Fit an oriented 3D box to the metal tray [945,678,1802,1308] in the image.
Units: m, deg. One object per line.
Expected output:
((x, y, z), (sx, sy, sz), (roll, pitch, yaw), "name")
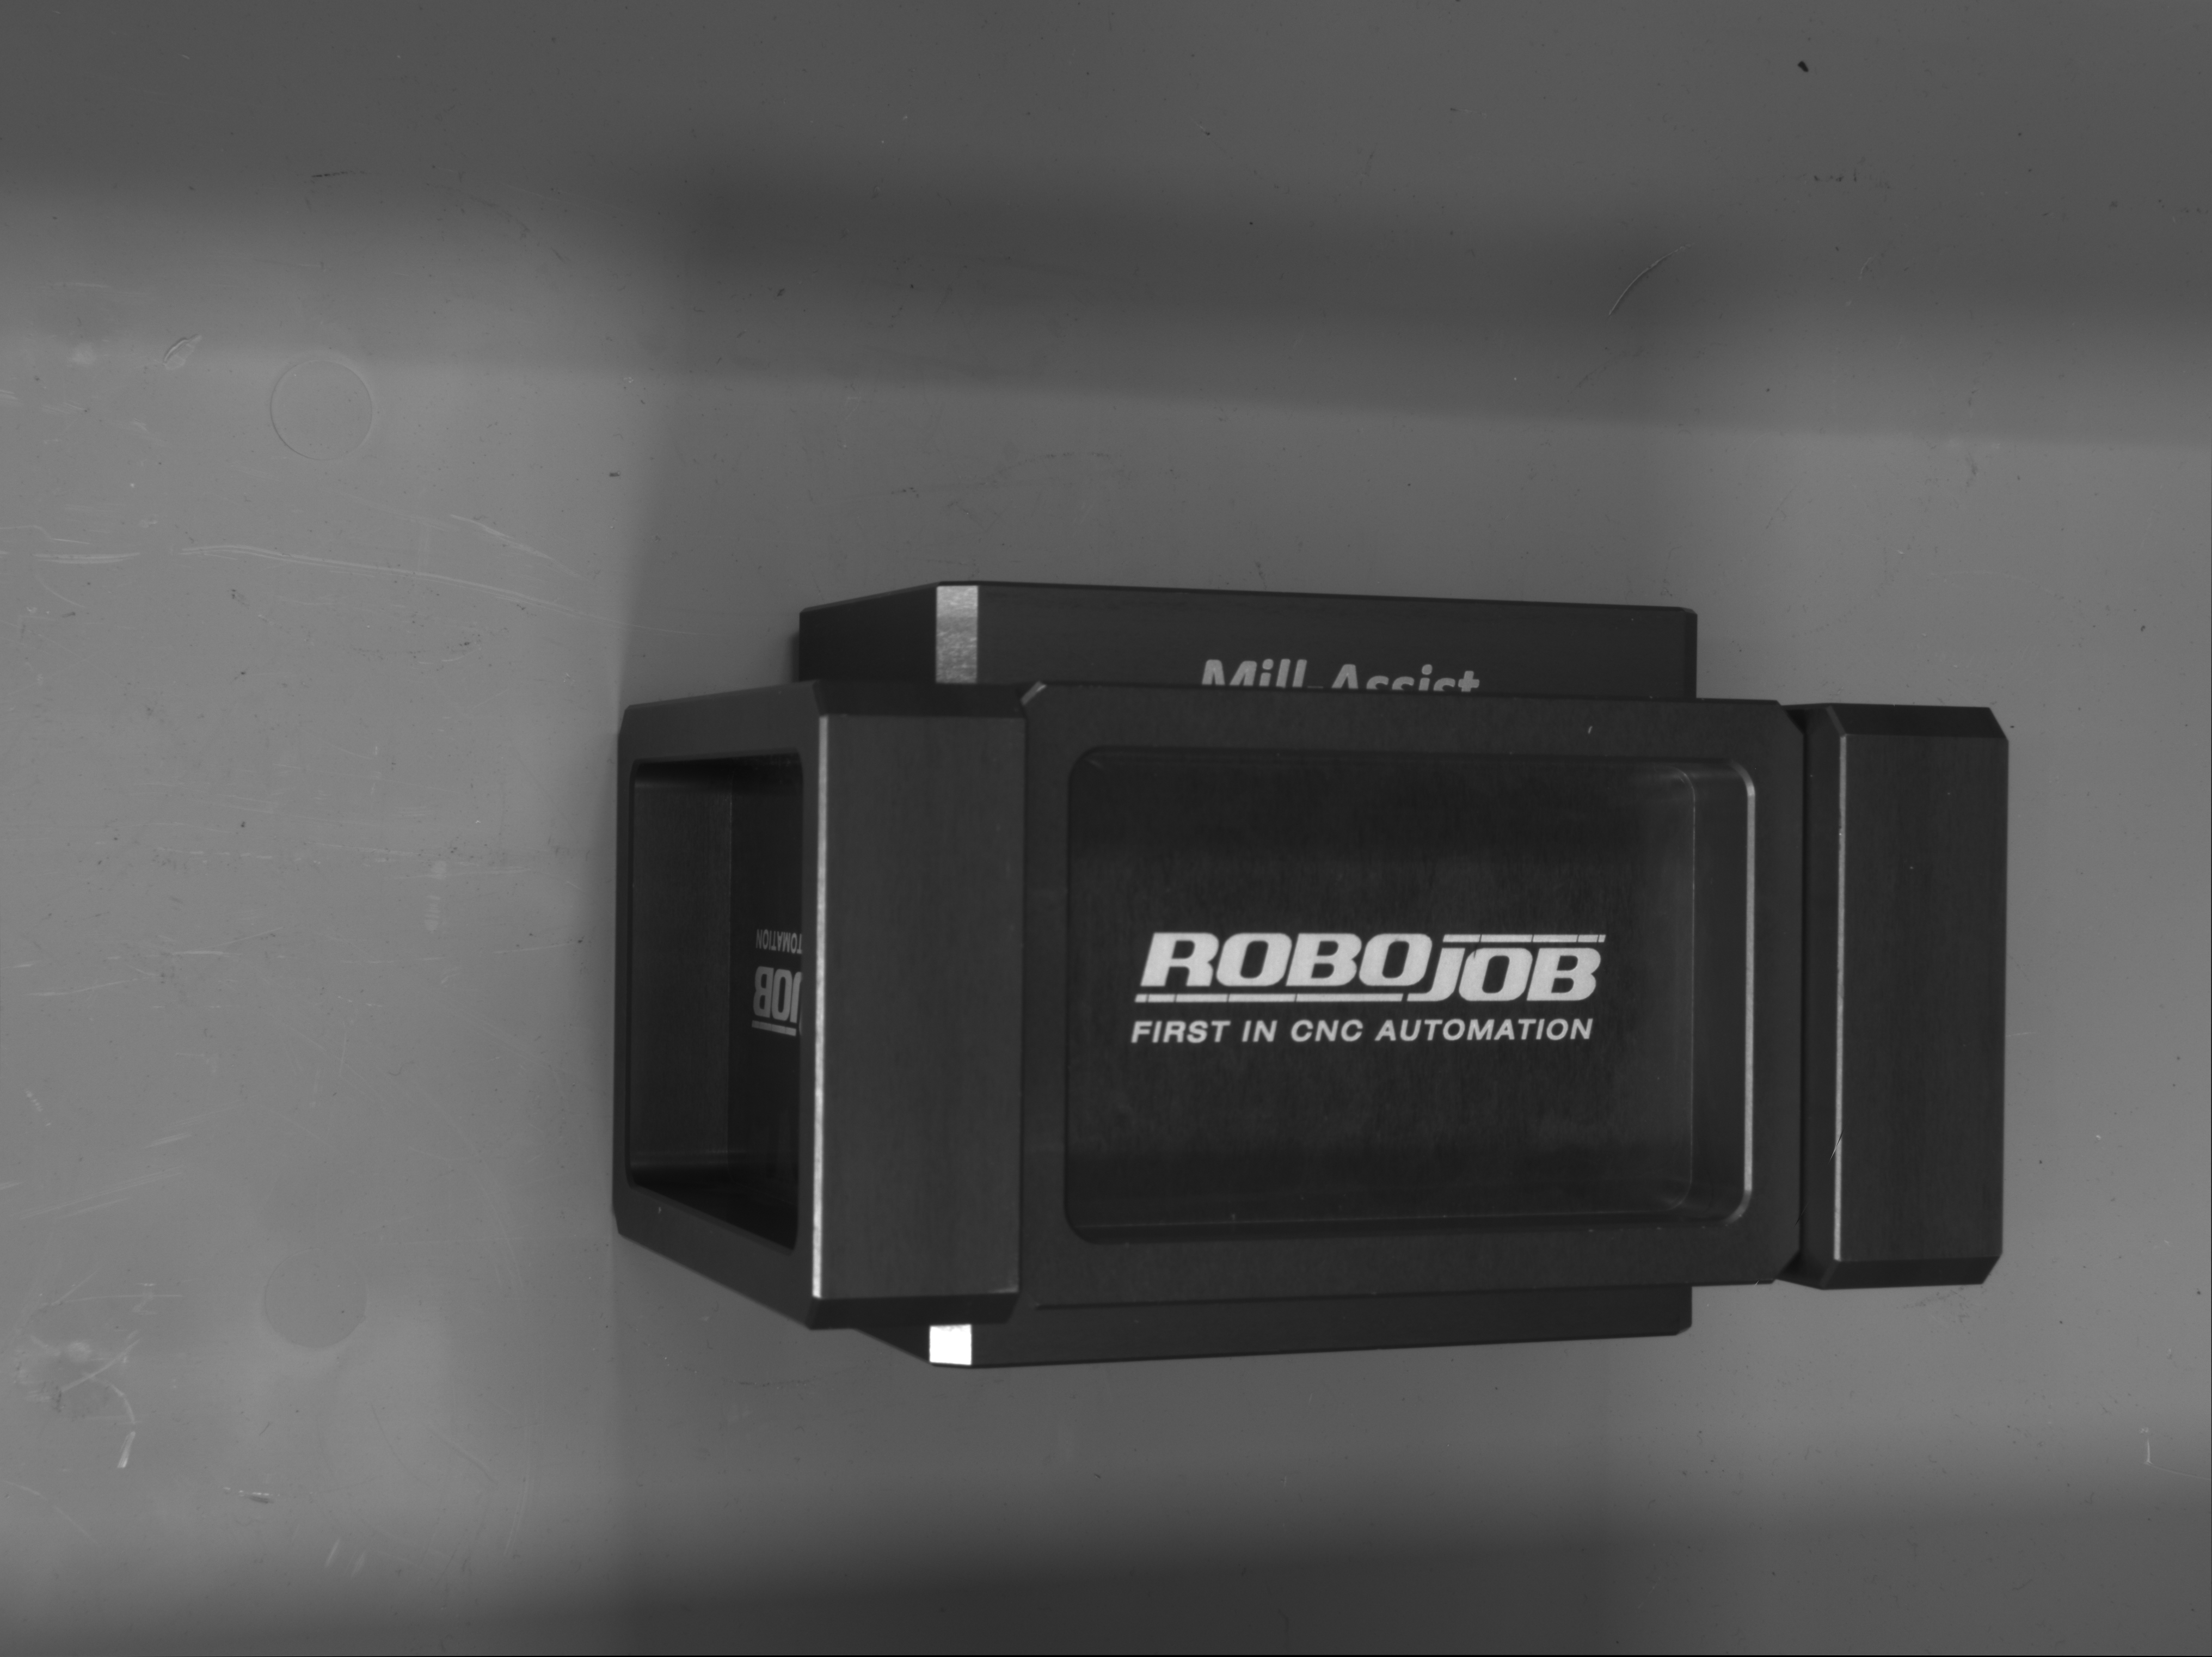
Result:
((0.041, 0.025, 0.558), (0.130, 0.030, 0.090), (1, 89, -20), "metal tray")

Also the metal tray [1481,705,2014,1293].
((0.104, 0.026, 0.623), (0.030, 0.130, 0.090), (1, 90, -20), "metal tray")

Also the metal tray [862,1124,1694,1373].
((0.021, 0.068, 0.613), (0.130, 0.090, 0.030), (0, 89, -20), "metal tray")

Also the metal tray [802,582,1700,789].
((0.022, -0.022, 0.614), (0.130, 0.090, 0.030), (0, 91, -19), "metal tray")

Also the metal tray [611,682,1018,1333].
((-0.048, 0.025, 0.568), (0.030, 0.130, 0.090), (1, 90, -20), "metal tray")
